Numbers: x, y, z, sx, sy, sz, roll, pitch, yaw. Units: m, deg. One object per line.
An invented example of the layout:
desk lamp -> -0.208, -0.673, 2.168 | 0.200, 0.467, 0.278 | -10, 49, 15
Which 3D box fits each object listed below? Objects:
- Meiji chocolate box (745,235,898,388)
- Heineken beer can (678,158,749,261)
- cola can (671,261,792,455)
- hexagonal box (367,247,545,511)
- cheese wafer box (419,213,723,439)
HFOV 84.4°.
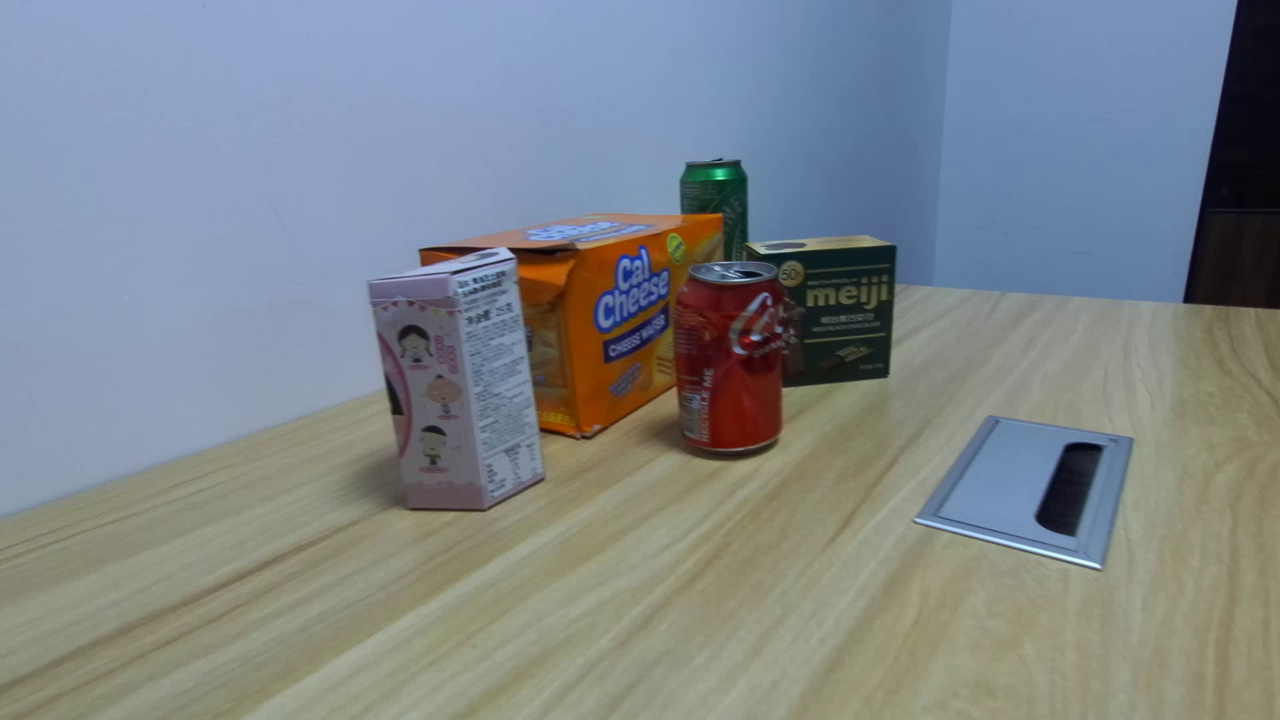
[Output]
Meiji chocolate box -> 0.140, -0.039, 0.562 | 0.110, 0.109, 0.056 | -4, 17, -6
Heineken beer can -> 0.074, -0.109, 0.703 | 0.067, 0.169, 0.067 | -2, 18, 1
cola can -> 0.056, -0.003, 0.445 | 0.066, 0.117, 0.066 | 3, 19, 18
hexagonal box -> -0.104, 0.009, 0.412 | 0.085, 0.135, 0.092 | -9, 19, -17
cheese wafer box -> -0.041, -0.045, 0.575 | 0.149, 0.137, 0.228 | 8, 20, 31
